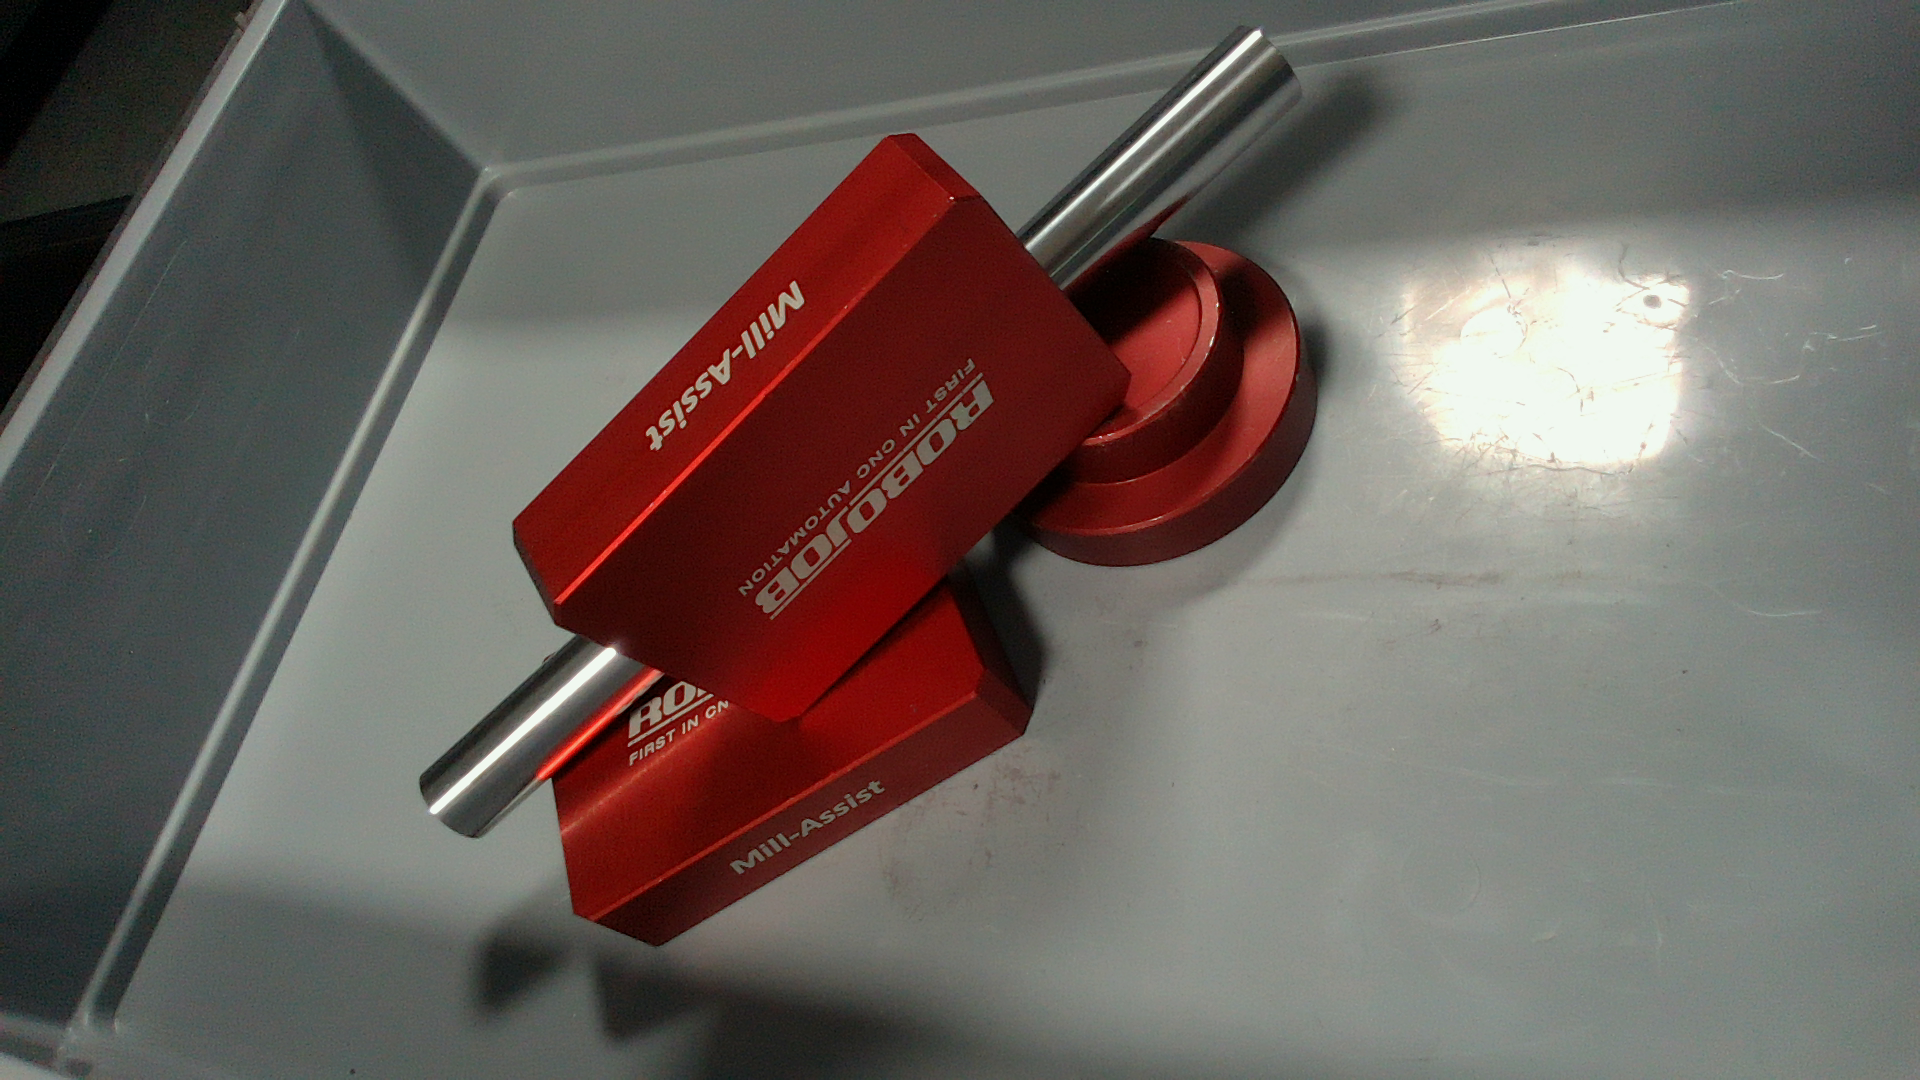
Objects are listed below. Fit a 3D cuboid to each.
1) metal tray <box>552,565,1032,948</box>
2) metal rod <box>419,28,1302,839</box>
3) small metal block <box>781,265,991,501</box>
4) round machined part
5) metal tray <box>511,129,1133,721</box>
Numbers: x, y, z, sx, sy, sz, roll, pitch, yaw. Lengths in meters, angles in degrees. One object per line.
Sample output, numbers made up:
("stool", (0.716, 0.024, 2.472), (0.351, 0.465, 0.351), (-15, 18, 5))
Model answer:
("metal tray", (-0.054, 0.044, 0.391), (0.130, 0.030, 0.090), (-31, 51, 9))
("metal rod", (-0.031, -0.025, 0.374), (0.300, 0.025, 0.025), (-42, 50, 5))
("small metal block", (-0.022, -0.047, 0.418), (0.025, 0.050, 0.050), (-38, 51, 3))
("round machined part", (0.046, -0.045, 0.384), (0.098, 0.042, 0.098), (-13, 56, 21))
("metal tray", (-0.029, -0.021, 0.330), (0.130, 0.090, 0.030), (-44, 53, 6))
